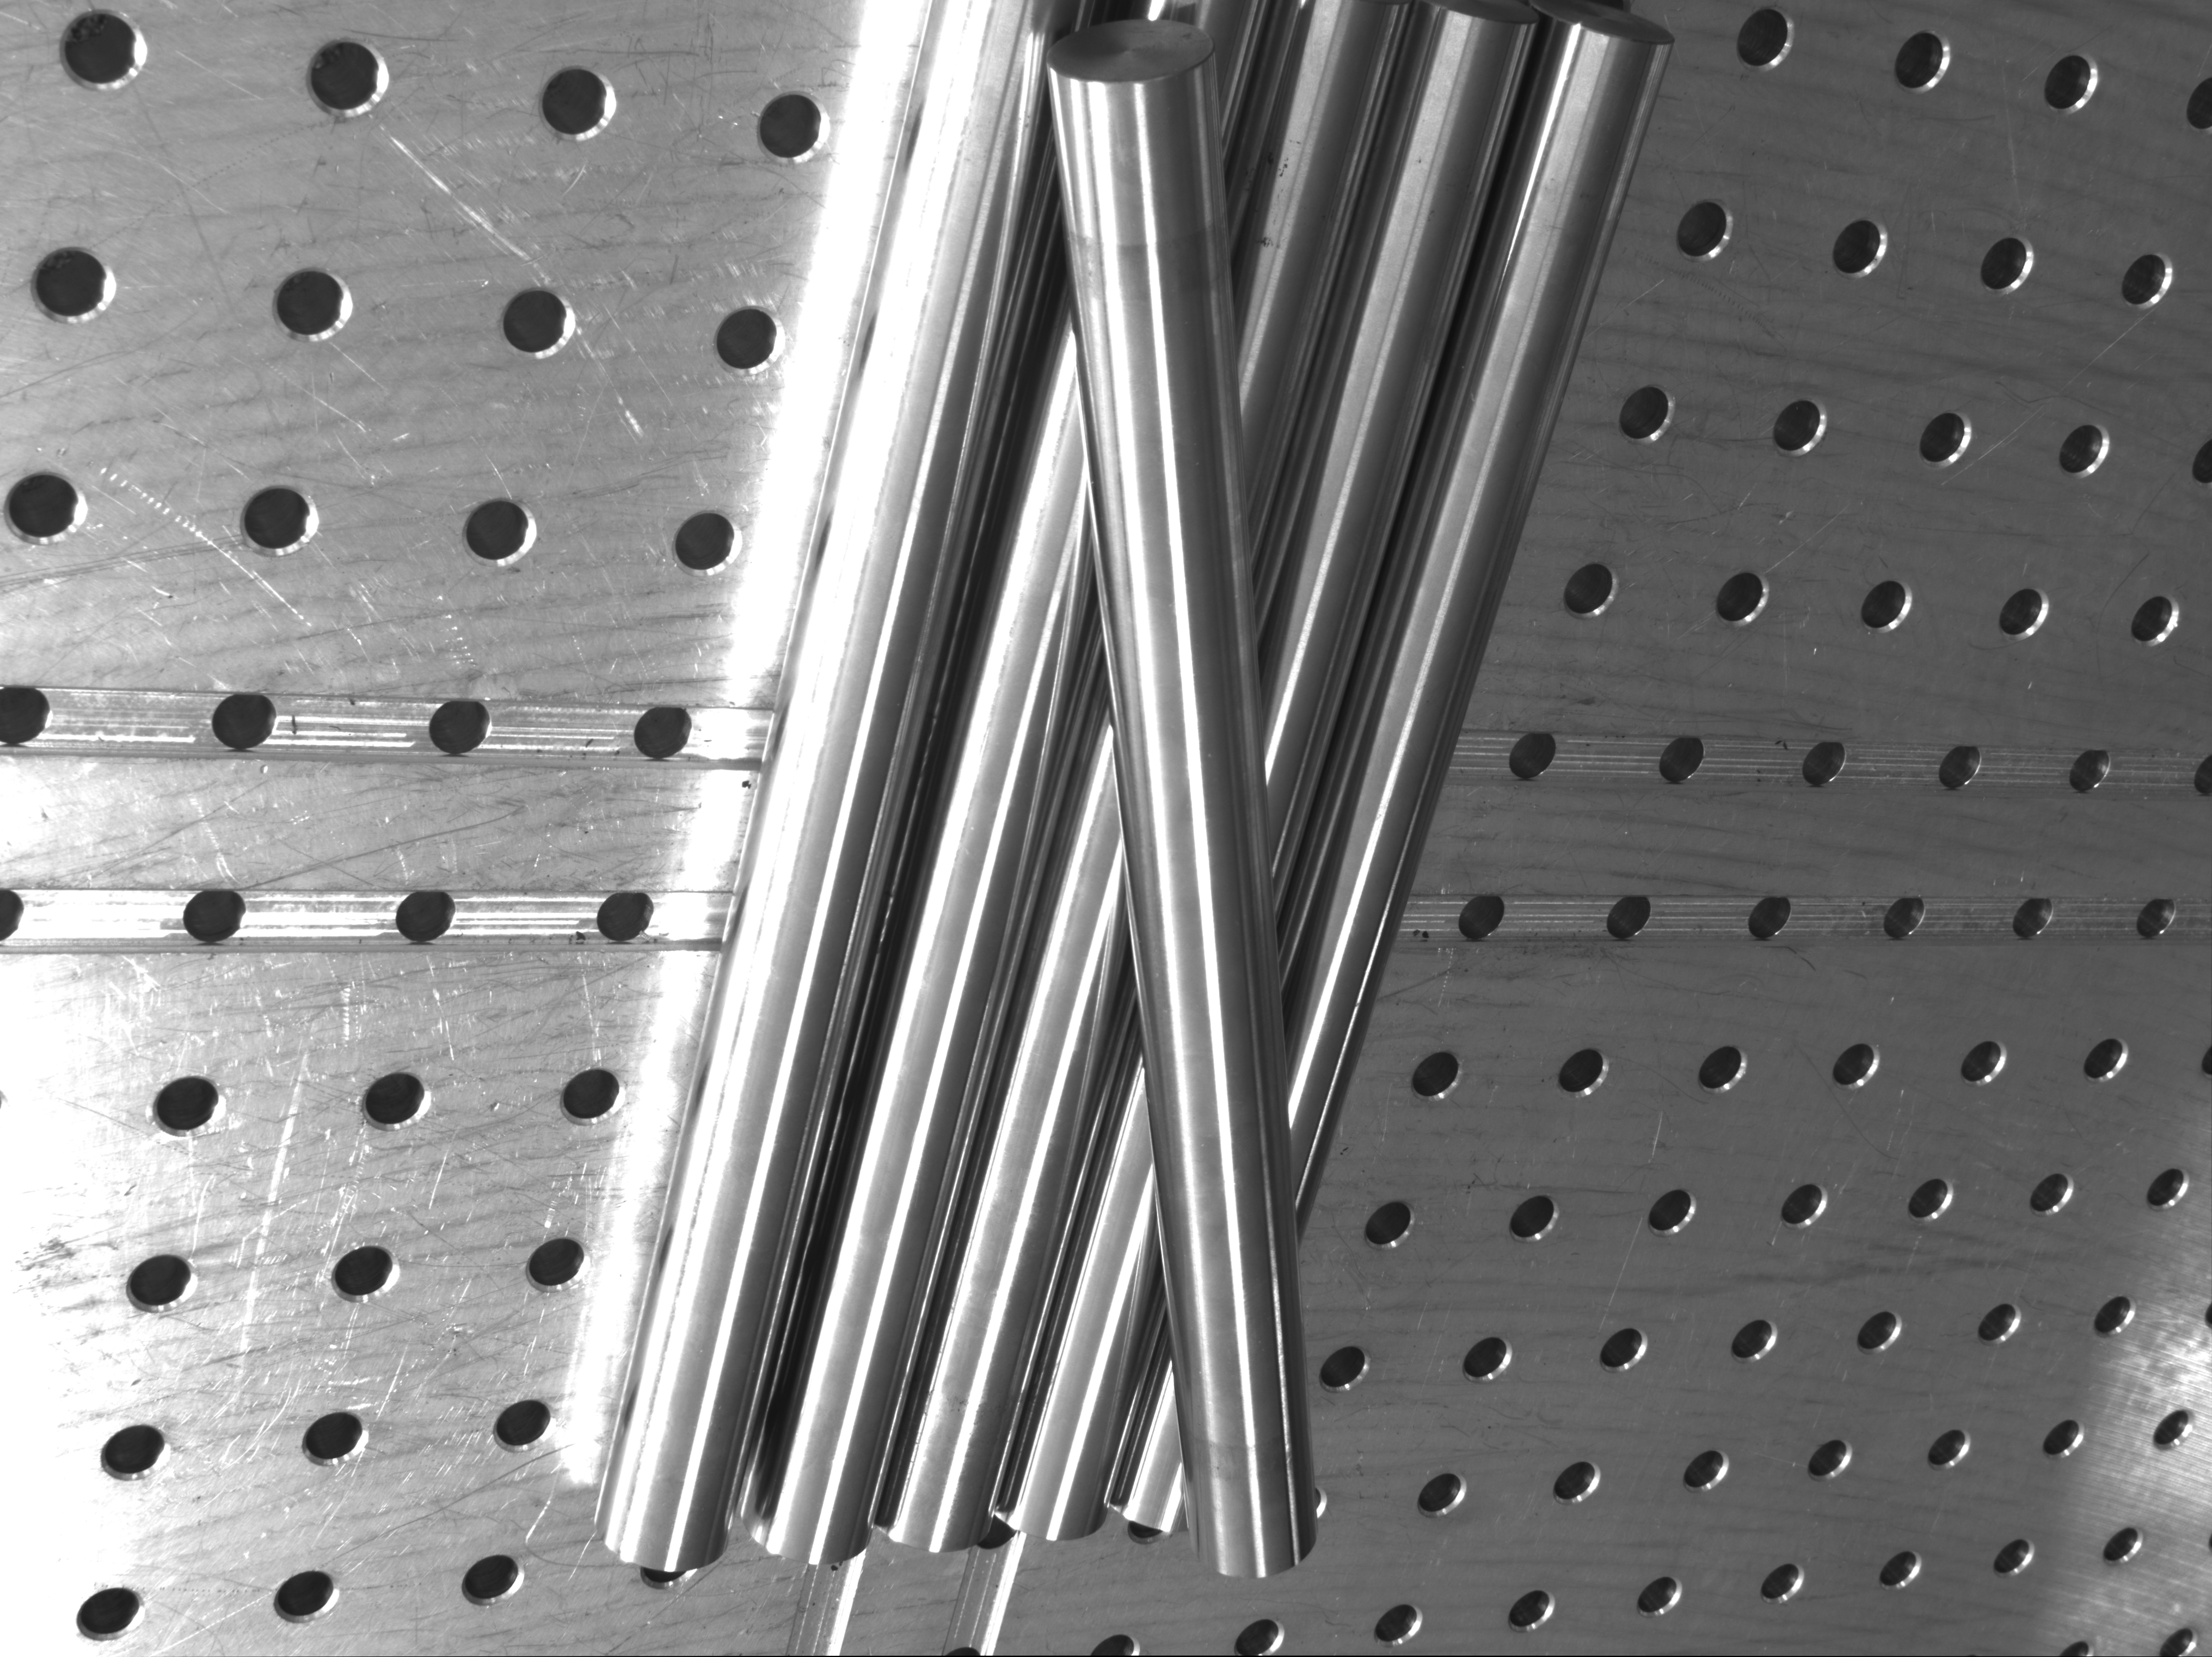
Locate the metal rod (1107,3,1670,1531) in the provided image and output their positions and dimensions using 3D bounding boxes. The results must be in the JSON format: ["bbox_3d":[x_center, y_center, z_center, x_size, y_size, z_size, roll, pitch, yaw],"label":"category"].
[{"bbox_3d":[0.045,-0.001,0.665,0.025,0.025,0.300,1,118,-29],"label":"metal rod"}]

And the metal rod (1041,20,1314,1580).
[{"bbox_3d":[0.015,0.011,0.623,0.025,0.025,0.300,-18,125,-18],"label":"metal rod"}]

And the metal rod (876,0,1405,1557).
[{"bbox_3d":[0.000,-0.001,0.639,0.025,0.025,0.300,1,118,-28],"label":"metal rod"}]

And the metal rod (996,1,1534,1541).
[{"bbox_3d":[0.022,-0.002,0.652,0.025,0.025,0.300,1,118,-28],"label":"metal rod"}]

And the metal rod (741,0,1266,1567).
[{"bbox_3d":[-0.021,-0.002,0.627,0.025,0.025,0.300,1,118,-28],"label":"metal rod"}]

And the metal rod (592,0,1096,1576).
[{"bbox_3d":[-0.047,-0.003,0.613,0.025,0.025,0.300,1,118,-28],"label":"metal rod"}]
